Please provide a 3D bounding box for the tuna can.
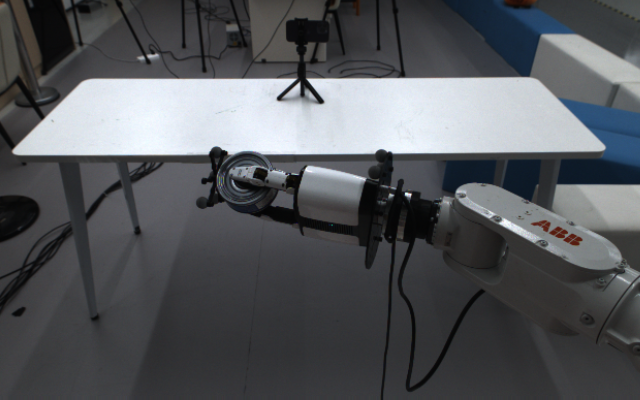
[{"bbox_3d":[-0.101,-0.026,0.690,0.085,0.034,0.085,-2,69,6],"label":"tuna can"}]
